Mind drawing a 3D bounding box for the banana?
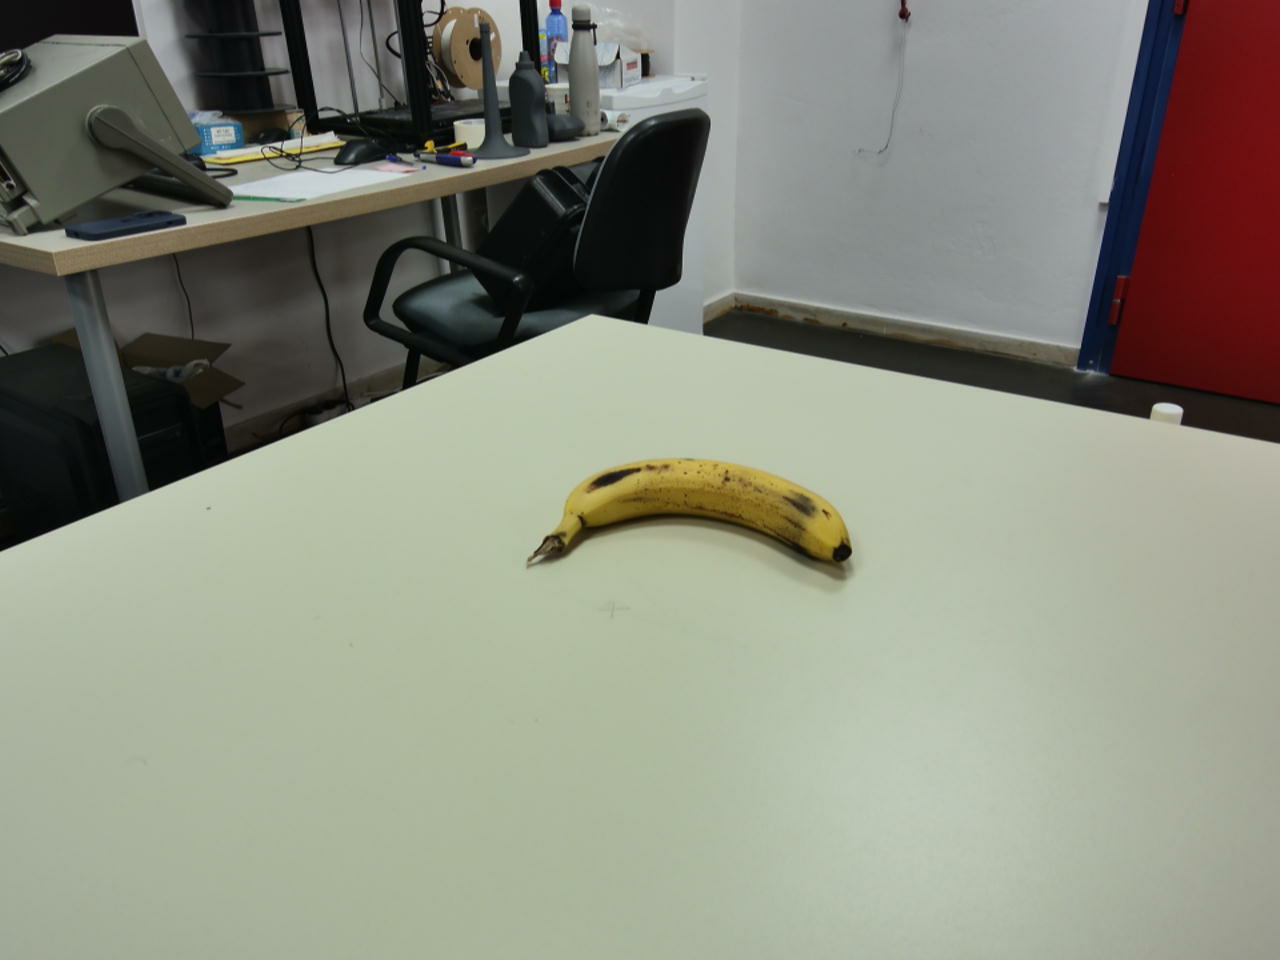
[{"bbox_3d":[0.035,0.018,0.621,0.186,0.038,0.097,3,25,8],"label":"banana"}]
